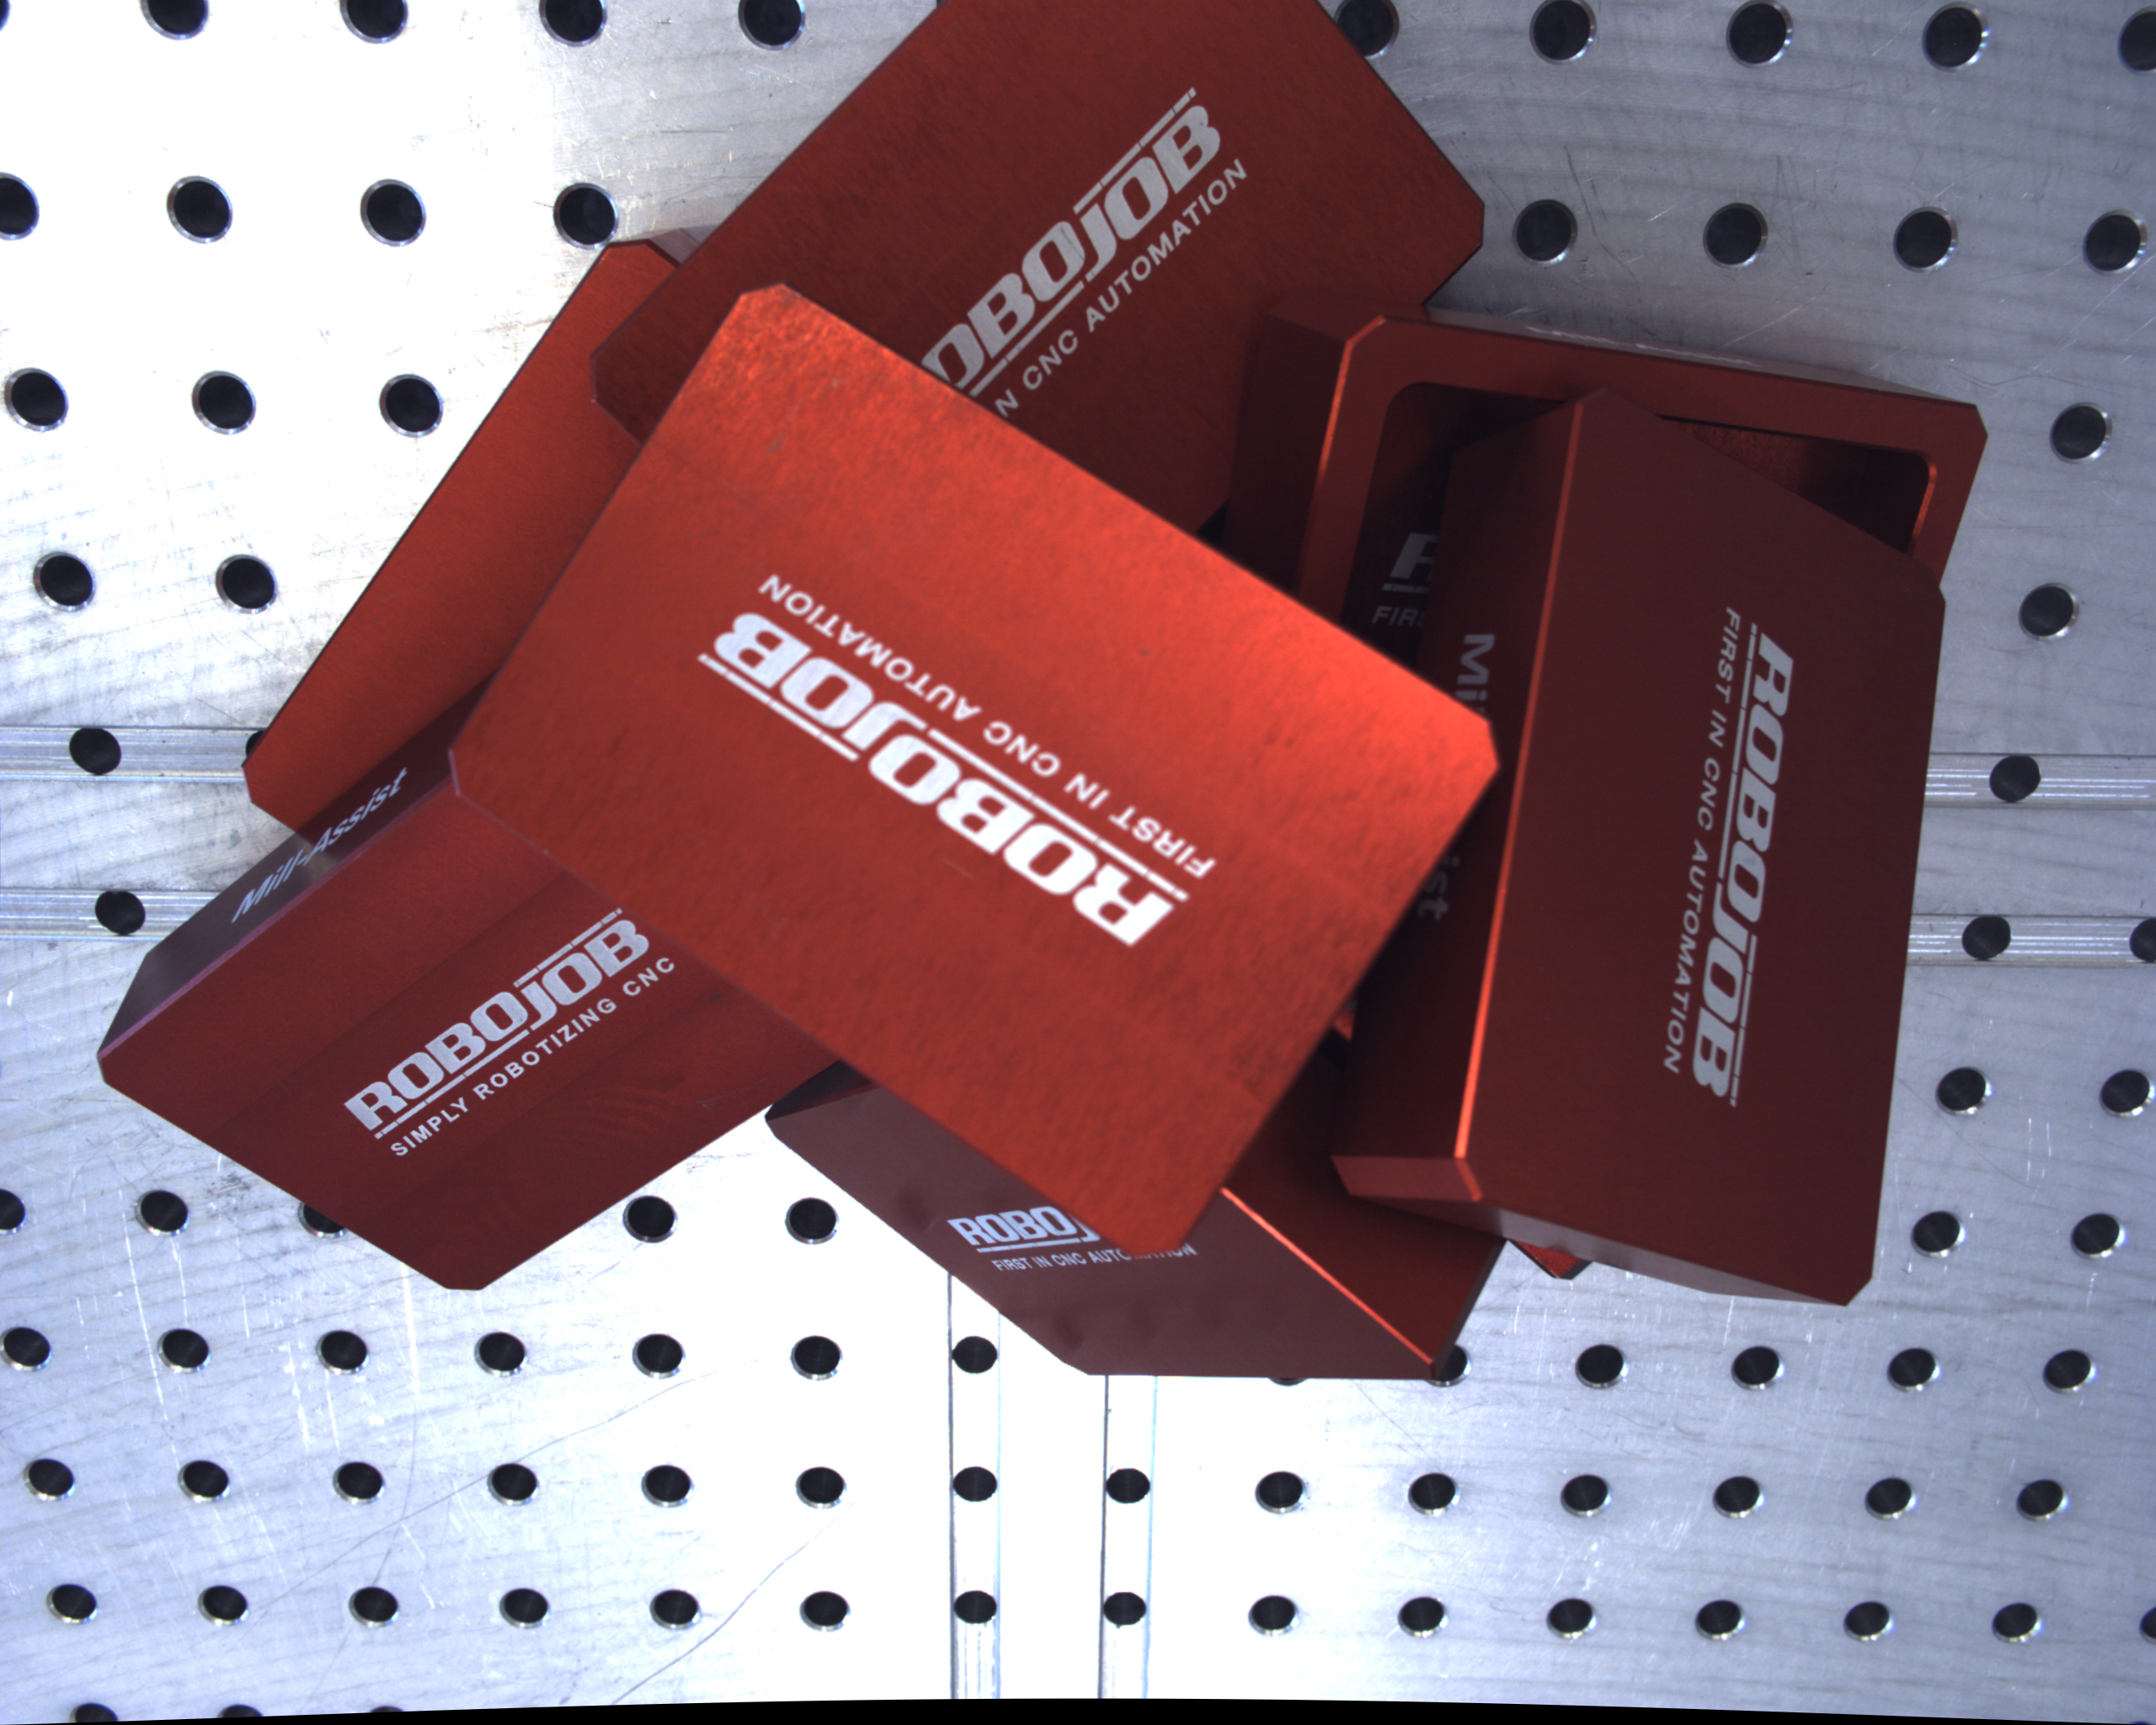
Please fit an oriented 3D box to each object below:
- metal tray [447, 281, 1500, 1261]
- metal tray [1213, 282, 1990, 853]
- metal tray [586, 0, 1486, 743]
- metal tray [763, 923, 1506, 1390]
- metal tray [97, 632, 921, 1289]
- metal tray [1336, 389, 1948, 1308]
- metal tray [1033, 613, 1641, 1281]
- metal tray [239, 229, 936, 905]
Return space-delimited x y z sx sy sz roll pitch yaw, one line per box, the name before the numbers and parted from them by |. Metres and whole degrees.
metal tray | -0.016 -0.014 0.311 0.130 0.030 0.090 34 93 9
metal tray | 0.090 -0.047 0.370 0.131 0.030 0.089 2 111 -22
metal tray | -0.007 -0.096 0.355 0.130 0.030 0.090 -45 107 0
metal tray | 0.005 0.058 0.385 0.090 0.130 0.030 41 63 -15
metal tray | -0.105 0.023 0.394 0.130 0.030 0.090 -33 123 23
metal tray | 0.096 0.000 0.344 0.091 0.030 0.130 19 74 -29
metal tray | 0.050 0.007 0.382 0.130 0.090 0.030 43 105 -13
metal tray | -0.083 -0.041 0.394 0.090 0.030 0.130 37 106 -13
